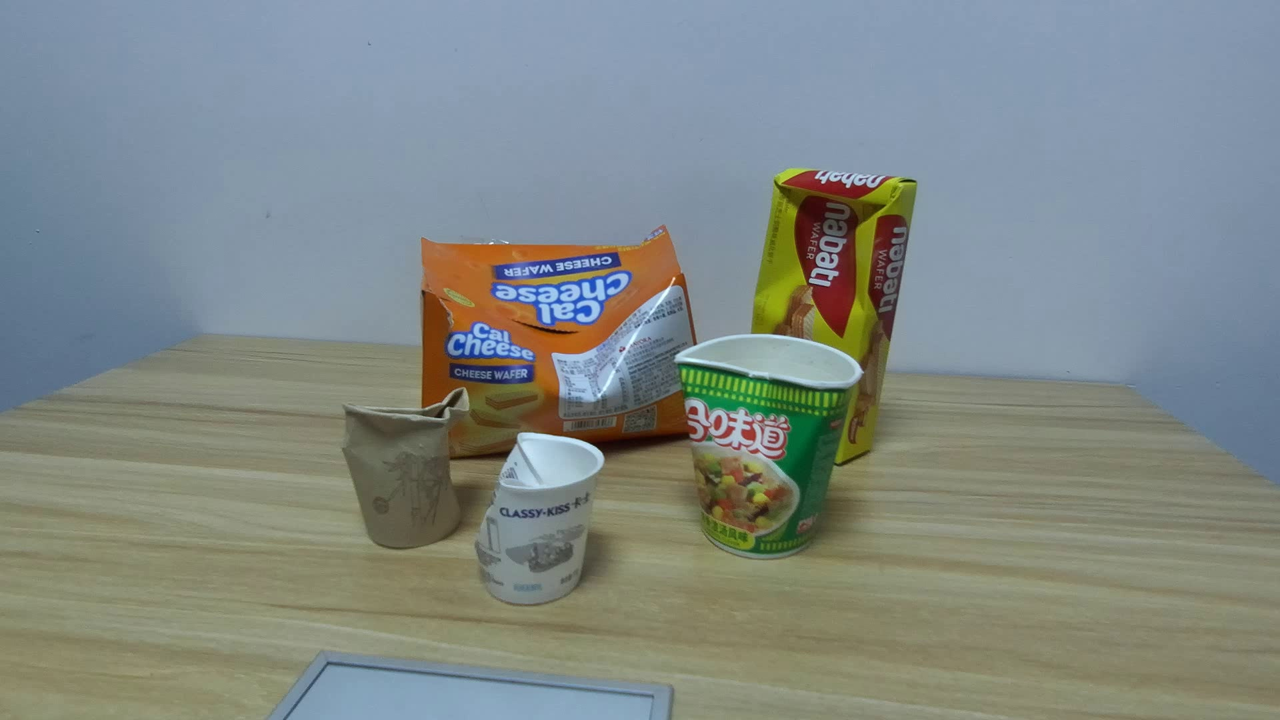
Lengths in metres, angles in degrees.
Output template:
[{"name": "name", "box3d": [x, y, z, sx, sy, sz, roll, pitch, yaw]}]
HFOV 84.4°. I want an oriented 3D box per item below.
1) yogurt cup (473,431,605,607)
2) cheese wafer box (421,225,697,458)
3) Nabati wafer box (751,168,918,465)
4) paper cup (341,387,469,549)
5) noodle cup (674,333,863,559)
[{"name": "yogurt cup", "box3d": [-0.053, 0.083, 0.368, 0.067, 0.070, 0.067, 2, 18, 0]}, {"name": "cheese wafer box", "box3d": [-0.061, -0.020, 0.560, 0.219, 0.145, 0.190, -3, 19, -14]}, {"name": "Nabati wafer box", "box3d": [0.133, -0.032, 0.516, 0.042, 0.203, 0.096, -13, 25, -43]}, {"name": "paper cup", "box3d": [-0.133, 0.060, 0.415, 0.066, 0.083, 0.058, 5, 18, 8]}, {"name": "noodle cup", "box3d": [0.075, 0.049, 0.410, 0.087, 0.109, 0.093, -16, 26, -39]}]
